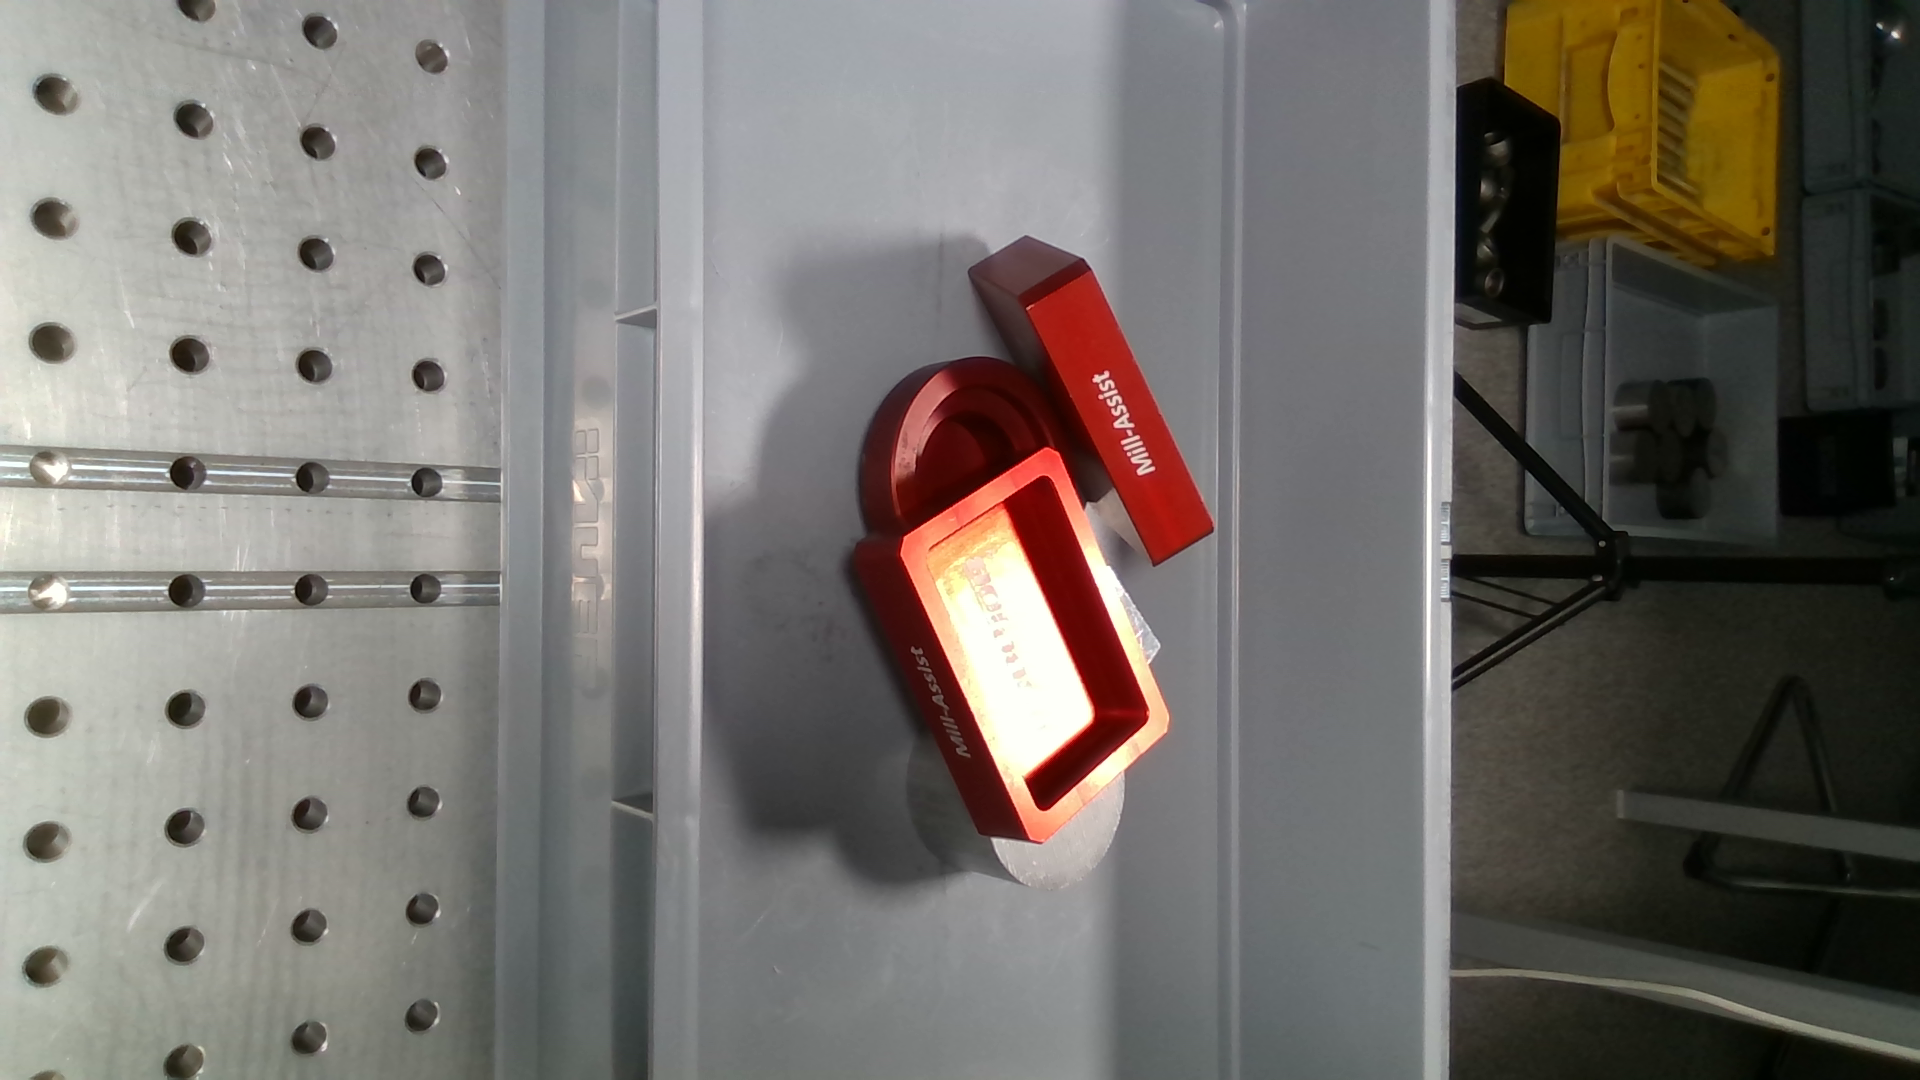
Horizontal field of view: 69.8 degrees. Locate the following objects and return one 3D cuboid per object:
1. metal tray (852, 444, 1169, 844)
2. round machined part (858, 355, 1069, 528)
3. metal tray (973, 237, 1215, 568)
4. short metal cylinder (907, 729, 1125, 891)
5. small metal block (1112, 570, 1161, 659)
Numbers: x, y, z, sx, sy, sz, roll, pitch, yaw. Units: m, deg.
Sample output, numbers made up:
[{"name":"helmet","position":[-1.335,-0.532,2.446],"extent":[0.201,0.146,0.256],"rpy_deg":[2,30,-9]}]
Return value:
[{"name":"metal tray","position":[0.023,0.040,0.535],"extent":[0.090,0.030,0.130],"rpy_deg":[-34,107,-36]},{"name":"round machined part","position":[-0.003,-0.025,0.570],"extent":[0.098,0.042,0.098],"rpy_deg":[0,90,-40]},{"name":"metal tray","position":[0.055,-0.060,0.583],"extent":[0.030,0.090,0.130],"rpy_deg":[-31,113,-2]},{"name":"short metal cylinder","position":[0.024,0.104,0.585],"extent":[0.080,0.050,0.080],"rpy_deg":[0,90,-40]},{"name":"small metal block","position":[0.053,0.037,0.609],"extent":[0.025,0.050,0.050],"rpy_deg":[-51,122,-28]}]
